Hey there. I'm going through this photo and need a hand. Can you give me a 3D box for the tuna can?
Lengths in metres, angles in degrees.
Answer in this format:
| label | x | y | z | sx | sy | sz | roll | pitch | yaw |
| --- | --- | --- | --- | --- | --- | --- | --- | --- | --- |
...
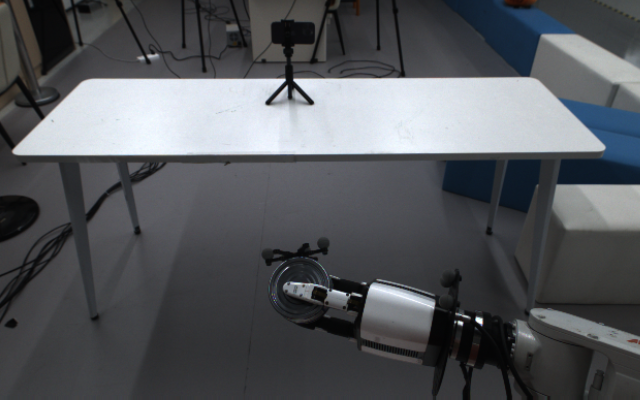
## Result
| label | x | y | z | sx | sy | sz | roll | pitch | yaw |
| --- | --- | --- | --- | --- | --- | --- | --- | --- | --- |
| tuna can | -0.021 | 0.126 | 0.645 | 0.085 | 0.034 | 0.085 | -4 | 67 | 9 |
